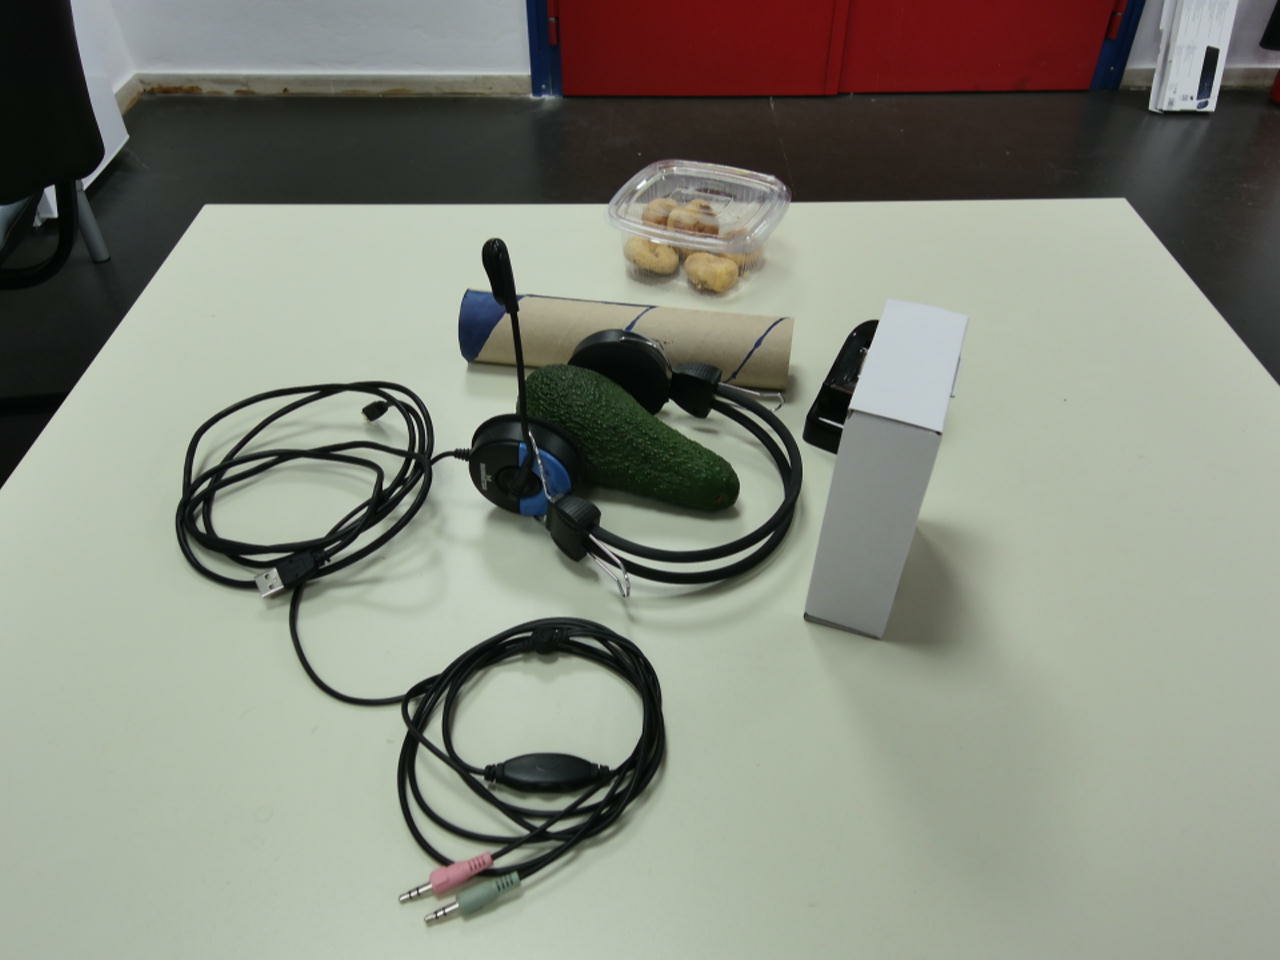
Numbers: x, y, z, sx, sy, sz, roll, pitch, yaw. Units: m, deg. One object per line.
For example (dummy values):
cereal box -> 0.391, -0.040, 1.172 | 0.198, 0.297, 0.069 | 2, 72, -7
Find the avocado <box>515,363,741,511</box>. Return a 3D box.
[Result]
avocado -> -0.006, -0.029, 0.580 | 0.141, 0.067, 0.063 | 10, 40, 12
